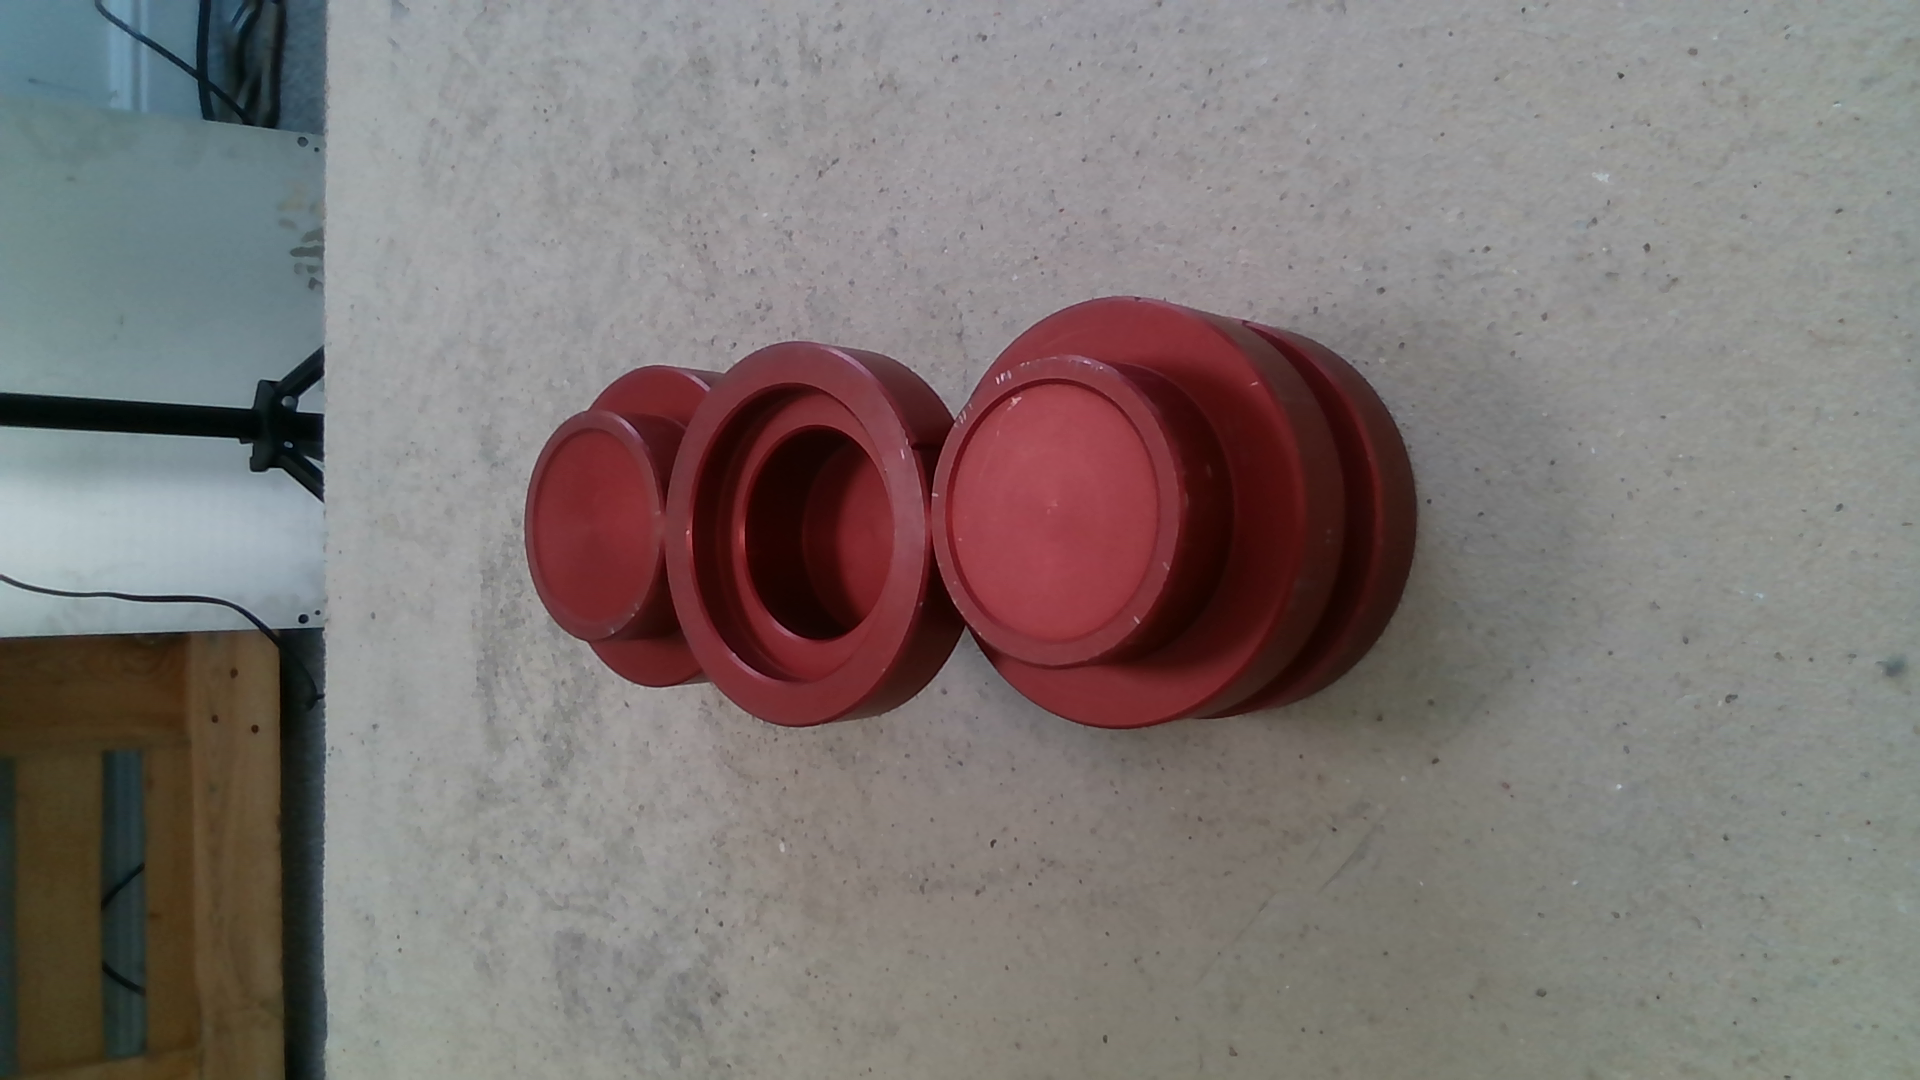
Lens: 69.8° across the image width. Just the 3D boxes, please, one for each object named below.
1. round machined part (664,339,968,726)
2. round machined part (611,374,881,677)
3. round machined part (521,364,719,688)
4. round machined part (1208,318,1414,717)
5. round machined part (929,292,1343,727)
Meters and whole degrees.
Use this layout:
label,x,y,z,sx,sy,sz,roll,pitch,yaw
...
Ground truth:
label,x,y,z,sx,sy,sz,roll,pitch,yaw
round machined part,-0.031,-0.002,0.365,0.098,0.042,0.098,0,91,40
round machined part,-0.075,-0.005,0.445,0.098,0.042,0.098,-1,89,39
round machined part,-0.096,-0.004,0.417,0.098,0.042,0.098,-1,89,41
round machined part,0.054,-0.006,0.334,0.098,0.042,0.098,-2,87,41
round machined part,0.032,-0.007,0.310,0.098,0.042,0.098,-1,89,41
